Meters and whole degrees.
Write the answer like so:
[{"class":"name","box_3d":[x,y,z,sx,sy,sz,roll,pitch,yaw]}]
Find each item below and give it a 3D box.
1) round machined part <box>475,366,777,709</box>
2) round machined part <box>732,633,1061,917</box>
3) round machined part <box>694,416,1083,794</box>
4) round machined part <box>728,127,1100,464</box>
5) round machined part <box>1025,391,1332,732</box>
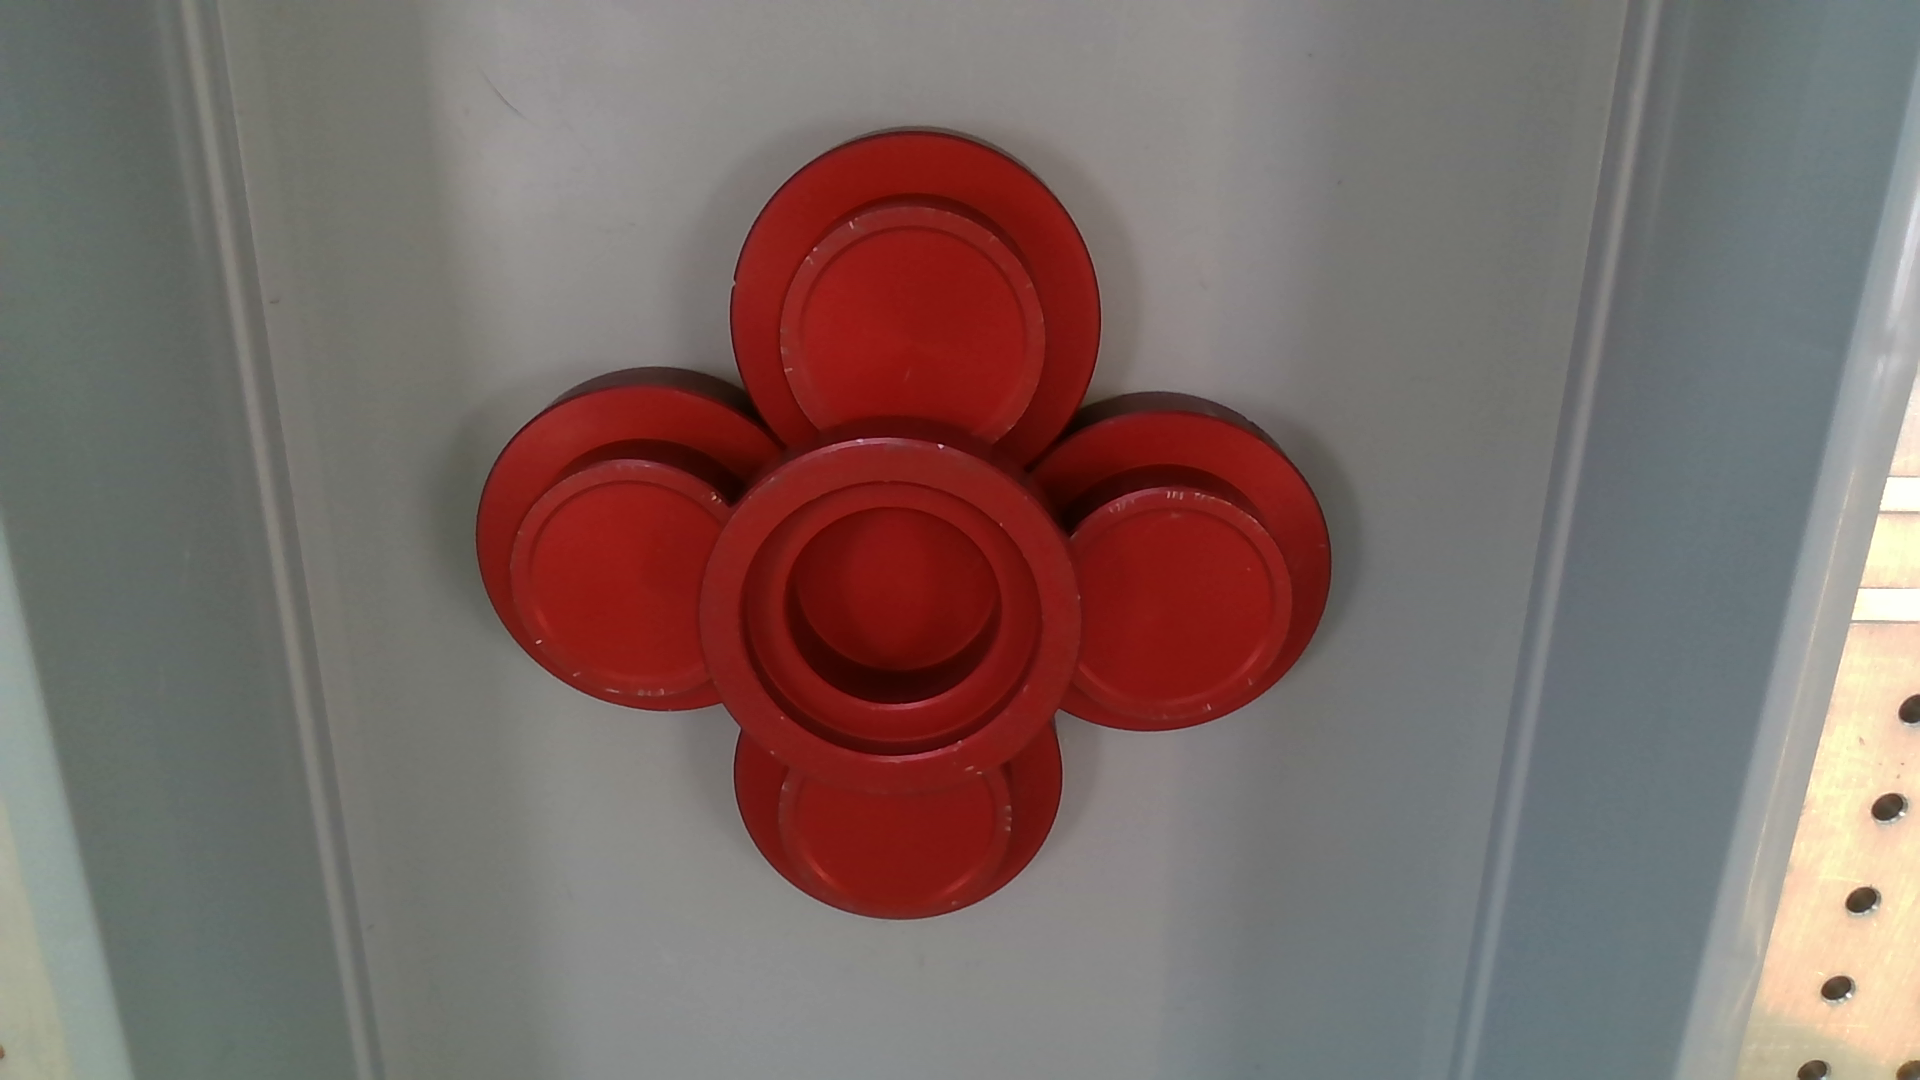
[{"class":"round machined part","box_3d":[-0.086,0.004,0.384,0.098,0.042,0.098,-1,111,-2]},{"class":"round machined part","box_3d":[-0.019,0.071,0.409,0.098,0.042,0.098,0,110,0]},{"class":"round machined part","box_3d":[-0.018,0.014,0.366,0.098,0.042,0.098,0,110,0]},{"class":"round machined part","box_3d":[-0.012,-0.057,0.362,0.098,0.042,0.098,0,110,0]},{"class":"round machined part","box_3d":[0.056,0.011,0.386,0.098,0.042,0.098,0,110,0]}]
